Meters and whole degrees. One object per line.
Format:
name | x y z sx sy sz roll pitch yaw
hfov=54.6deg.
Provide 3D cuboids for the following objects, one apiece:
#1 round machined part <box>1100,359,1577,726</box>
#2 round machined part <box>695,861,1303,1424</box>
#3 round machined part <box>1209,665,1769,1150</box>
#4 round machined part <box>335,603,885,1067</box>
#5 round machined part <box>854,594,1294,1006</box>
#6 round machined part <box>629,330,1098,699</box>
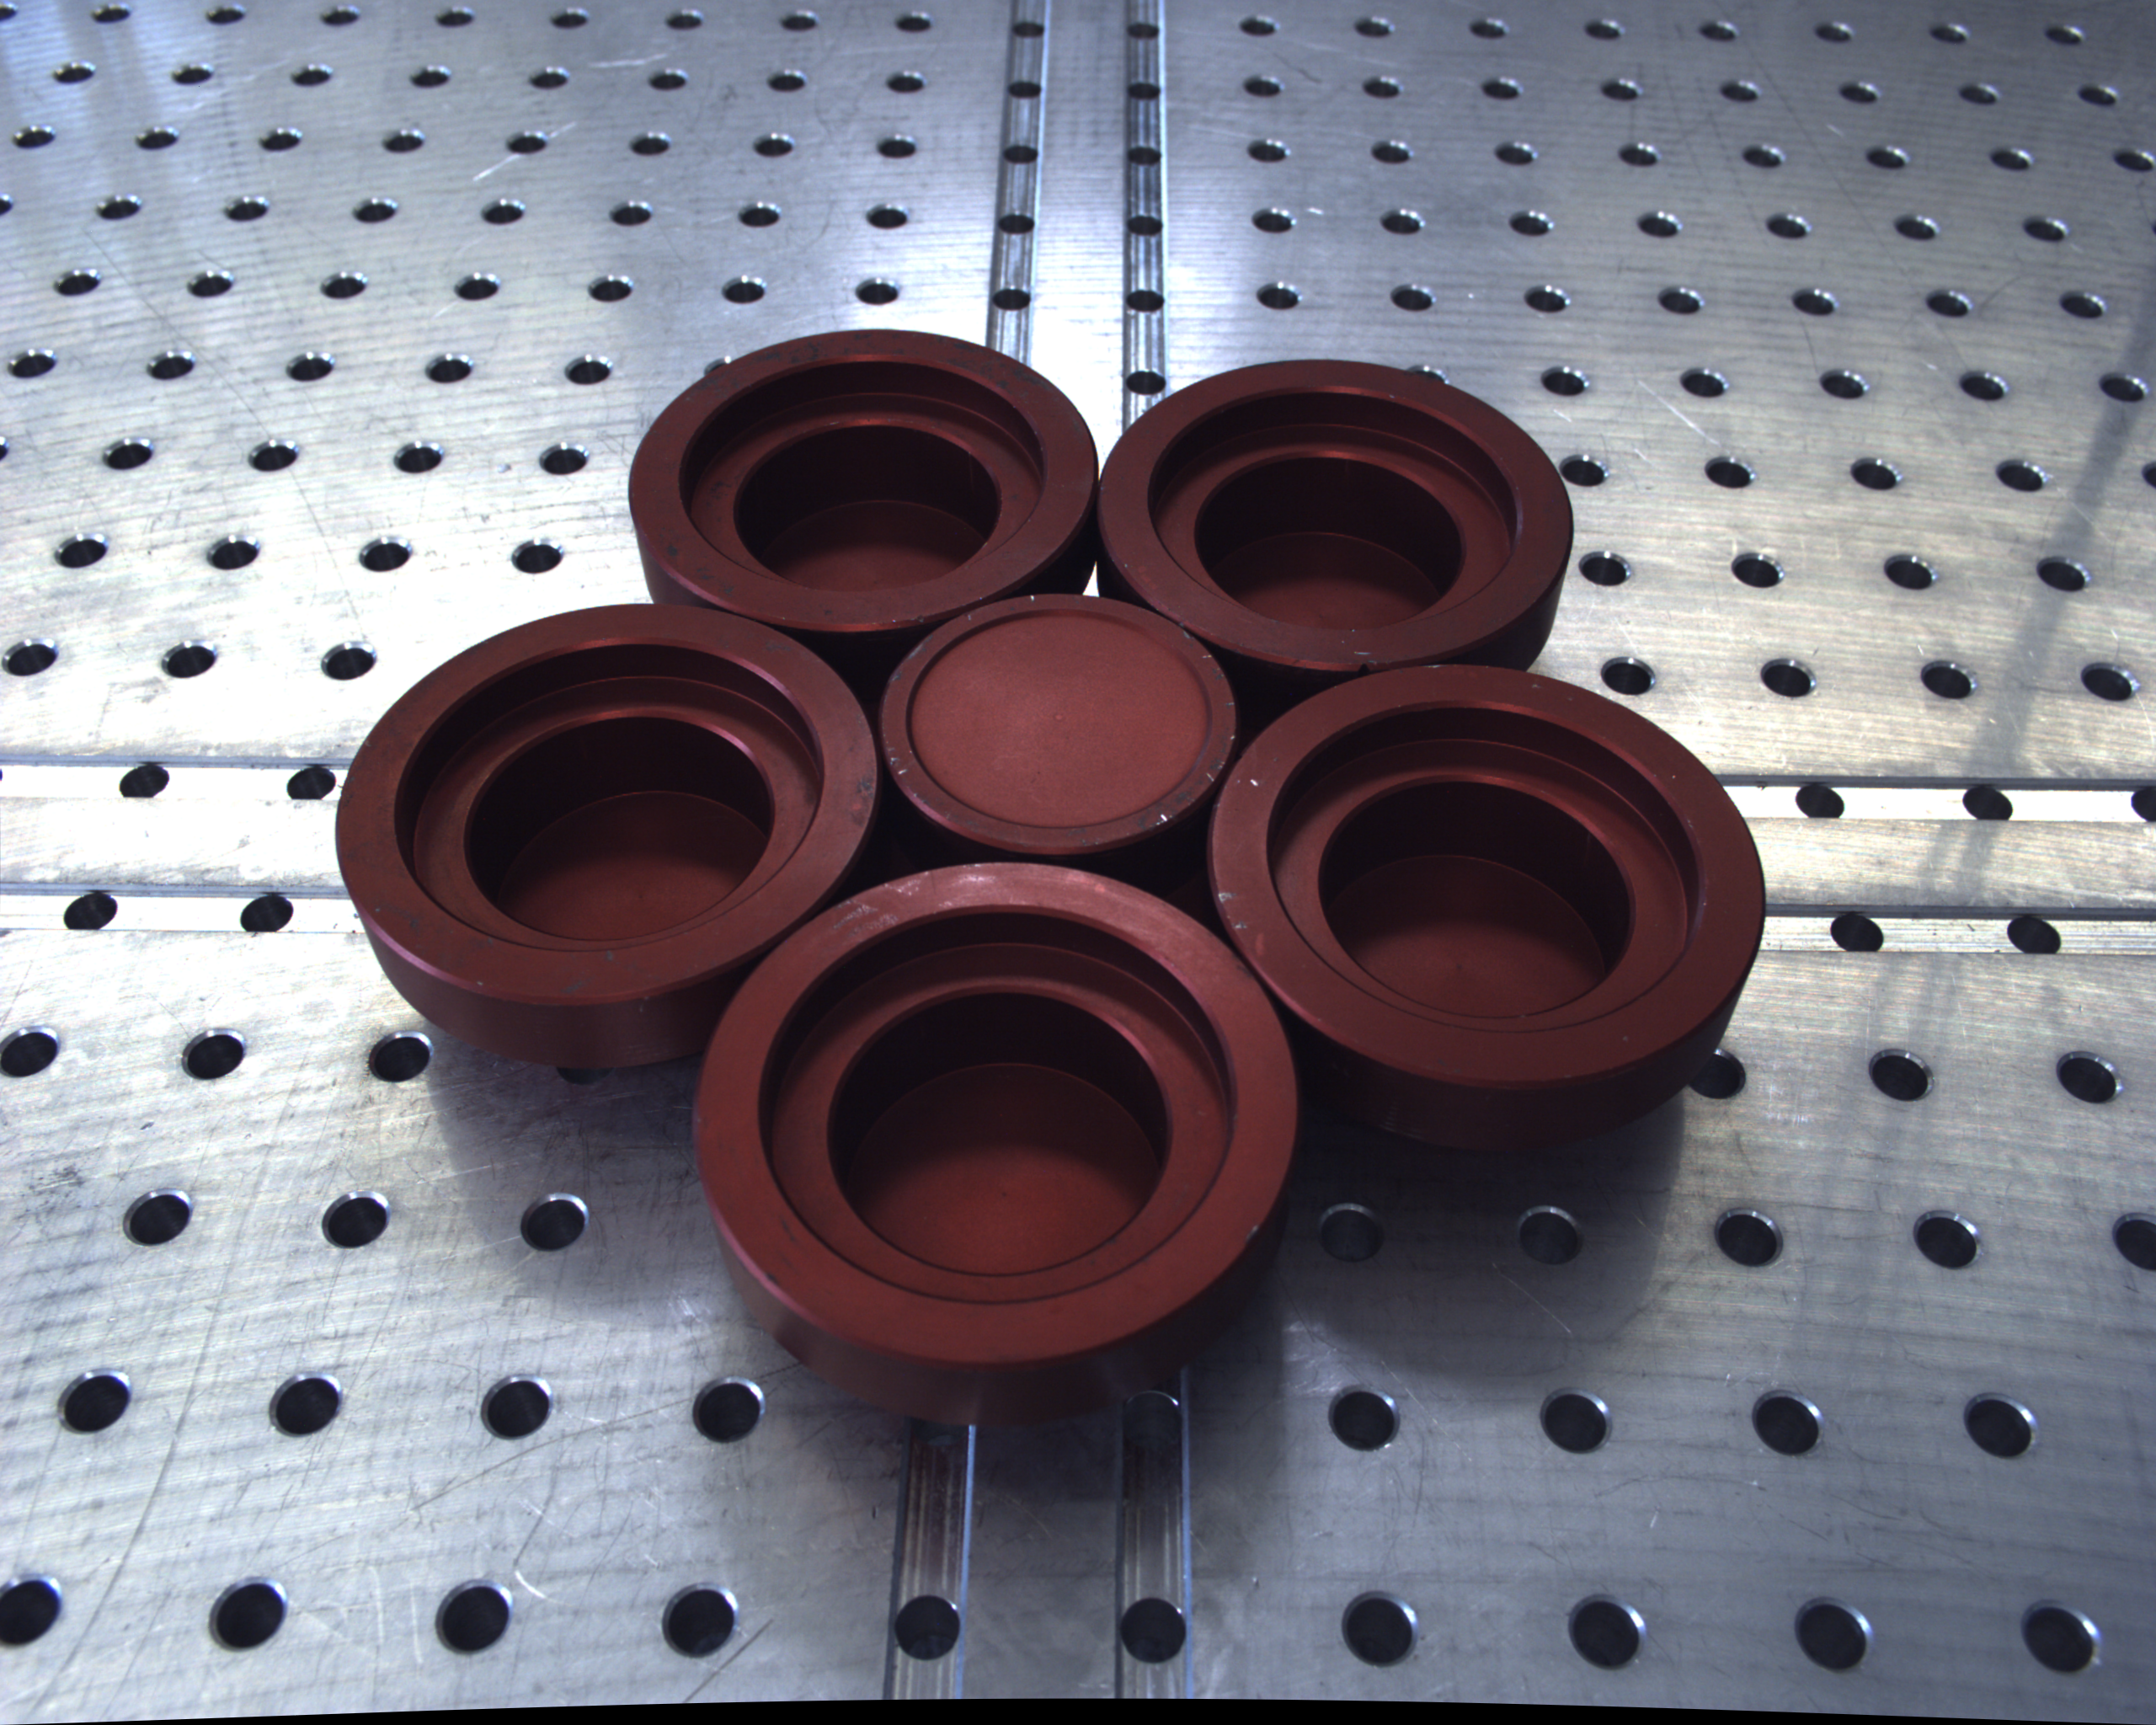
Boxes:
round machined part | 0.054 -0.062 0.449 0.099 0.042 0.098 0 50 0
round machined part | -0.013 0.050 0.354 0.099 0.042 0.098 0 50 0
round machined part | 0.073 0.012 0.387 0.099 0.042 0.098 0 50 0
round machined part | -0.085 -0.001 0.397 0.099 0.042 0.098 0 50 0
round machined part | -0.004 -0.015 0.409 0.099 0.042 0.098 0 50 0
round machined part | -0.045 -0.070 0.455 0.099 0.042 0.098 0 50 0
